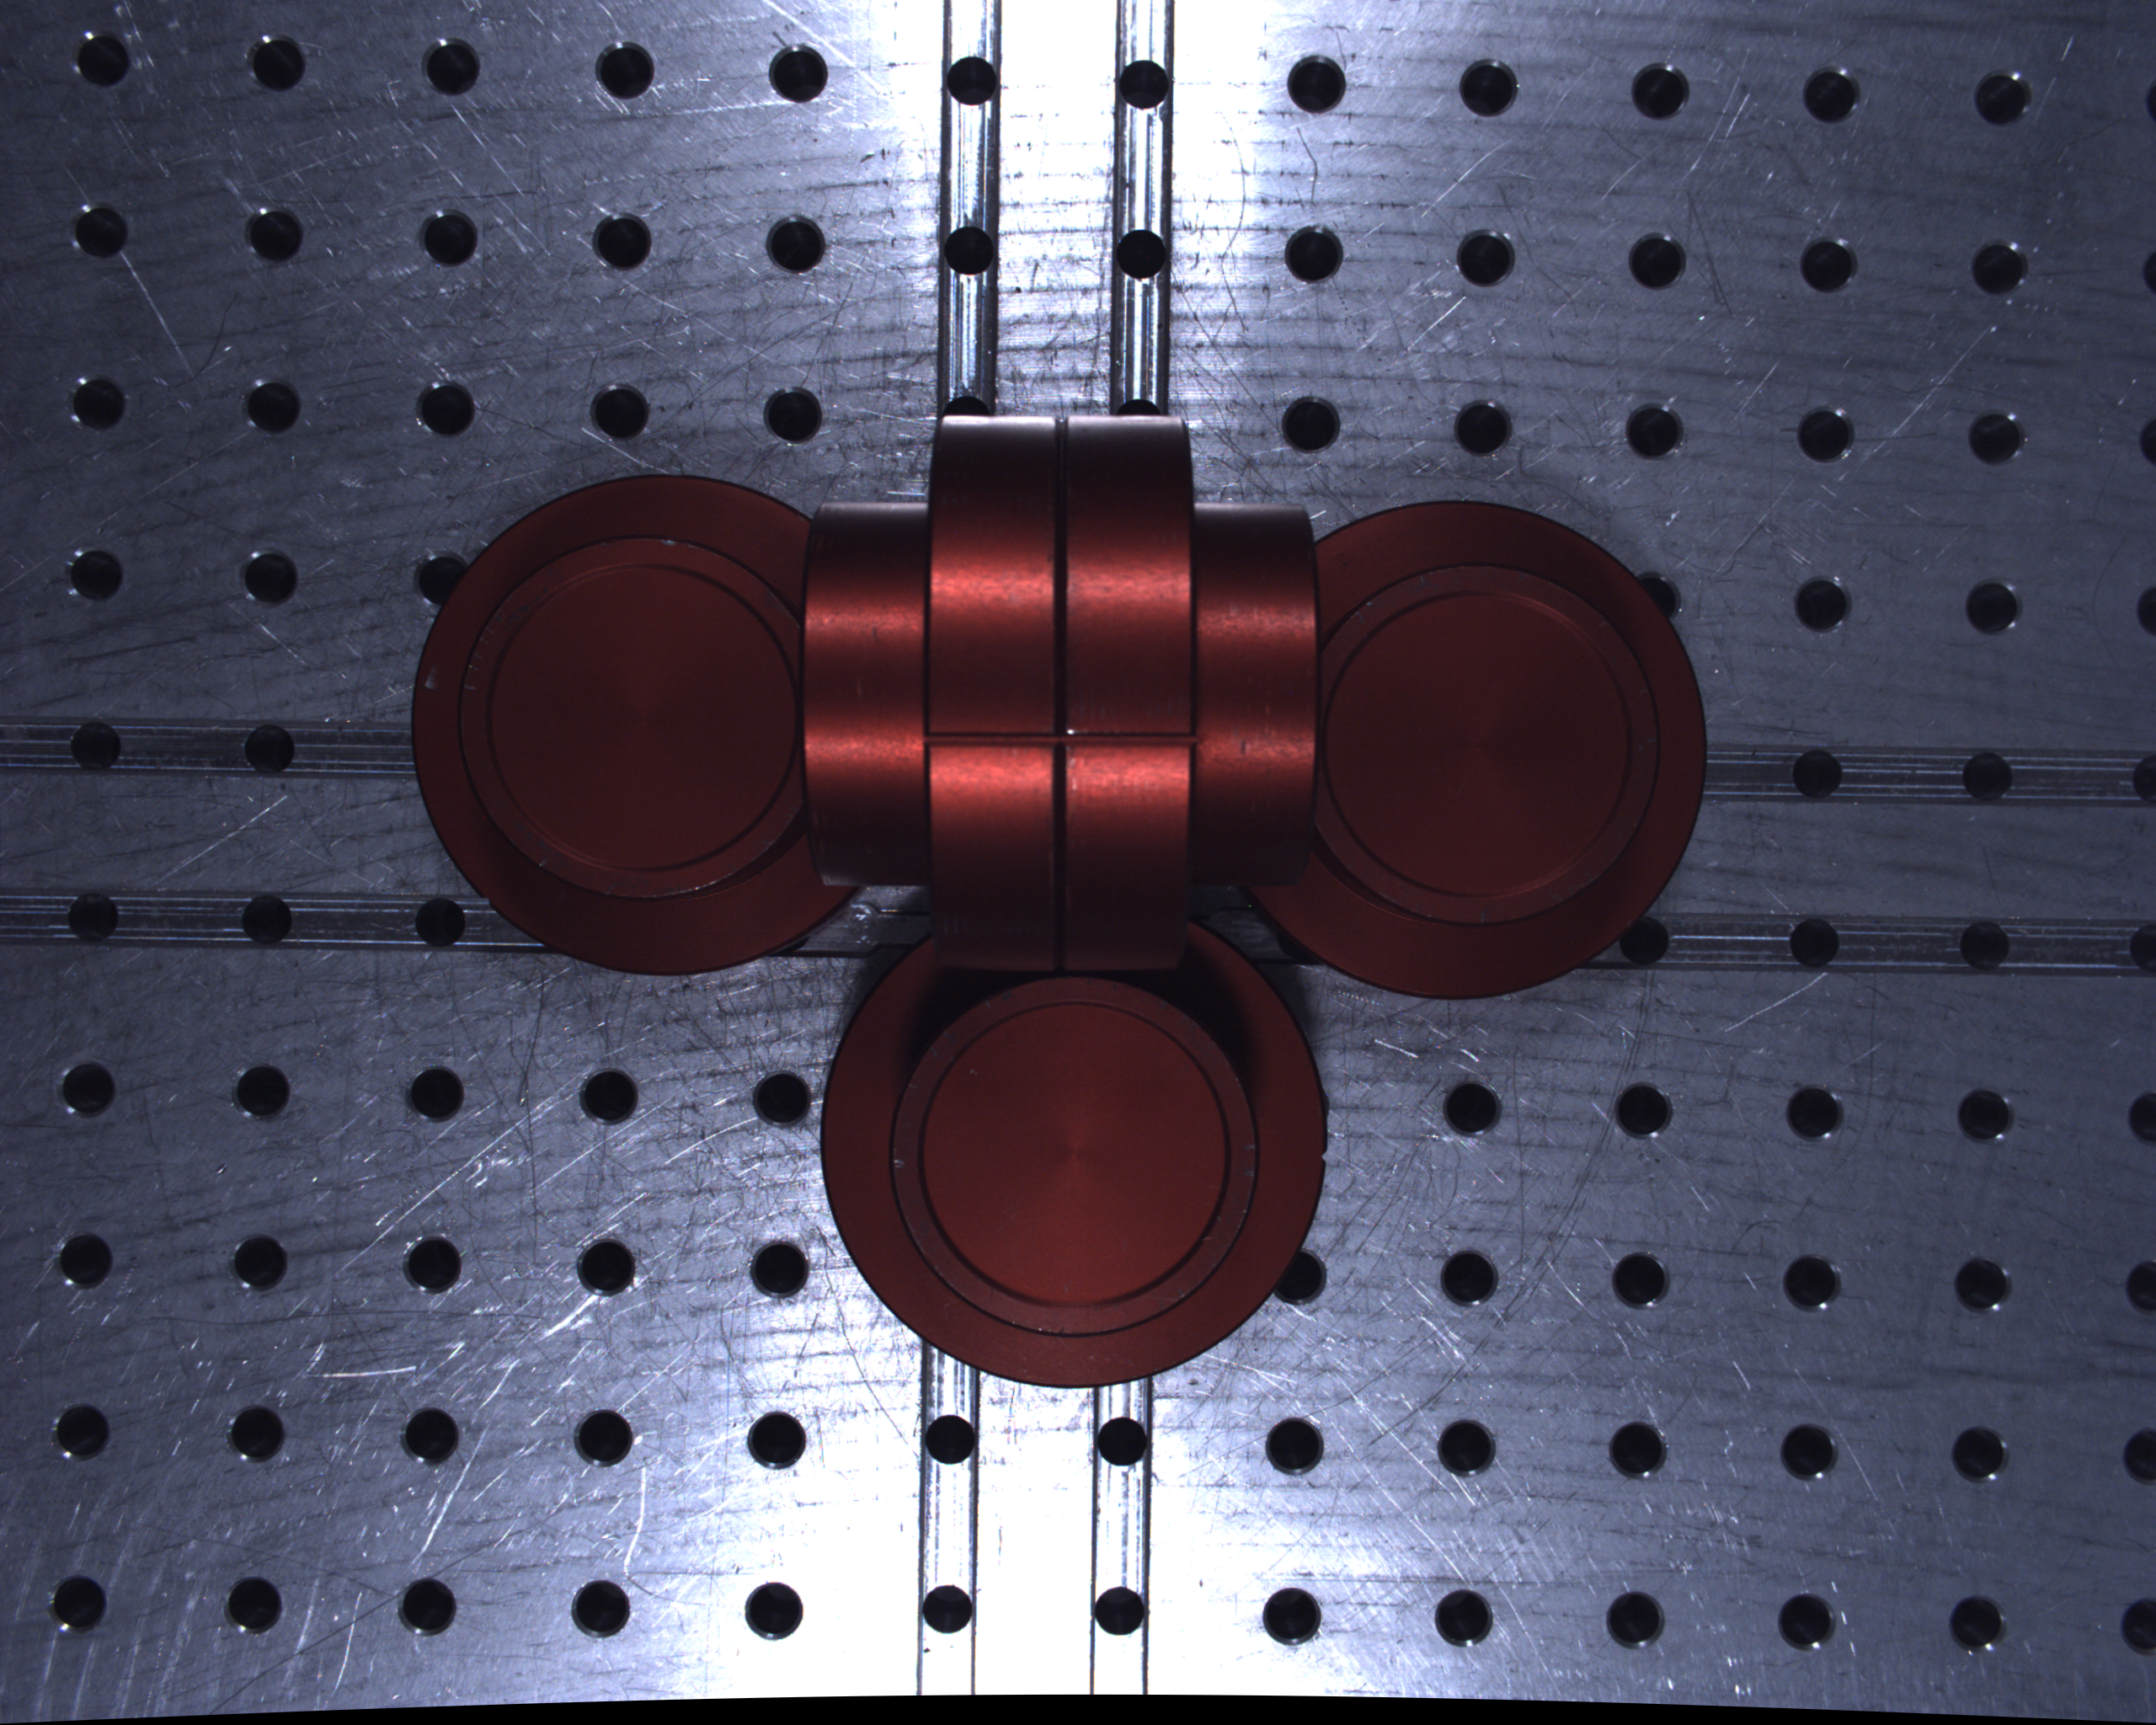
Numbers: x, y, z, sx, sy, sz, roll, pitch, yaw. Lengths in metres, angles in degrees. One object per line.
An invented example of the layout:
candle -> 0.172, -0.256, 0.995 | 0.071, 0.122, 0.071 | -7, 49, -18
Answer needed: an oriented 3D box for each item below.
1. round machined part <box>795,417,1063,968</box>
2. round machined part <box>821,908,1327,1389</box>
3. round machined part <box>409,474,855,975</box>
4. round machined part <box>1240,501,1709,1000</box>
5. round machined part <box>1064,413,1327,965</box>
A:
round machined part -> -0.025, -0.030, 0.370 | 0.042, 0.098, 0.097 | 1, 90, 0
round machined part -> -0.001, 0.054, 0.405 | 0.099, 0.042, 0.097 | 0, 90, -1
round machined part -> -0.080, -0.027, 0.404 | 0.099, 0.042, 0.097 | 0, 90, -1
round machined part -> 0.074, -0.022, 0.405 | 0.099, 0.042, 0.097 | 0, 90, -1
round machined part -> 0.019, -0.031, 0.372 | 0.042, 0.098, 0.097 | -1, 90, 0
